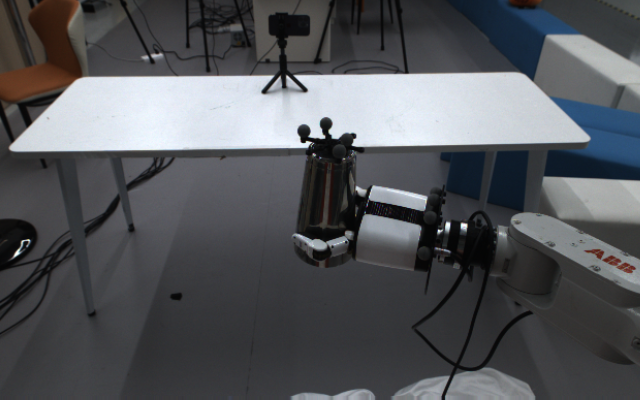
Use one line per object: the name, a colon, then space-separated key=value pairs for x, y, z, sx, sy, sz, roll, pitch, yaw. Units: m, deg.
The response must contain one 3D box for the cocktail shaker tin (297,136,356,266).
cocktail shaker tin: x=0.012 y=0.001 z=0.693 sx=0.093 sy=0.170 sz=0.093 roll=3 pitch=34 yaw=-2
